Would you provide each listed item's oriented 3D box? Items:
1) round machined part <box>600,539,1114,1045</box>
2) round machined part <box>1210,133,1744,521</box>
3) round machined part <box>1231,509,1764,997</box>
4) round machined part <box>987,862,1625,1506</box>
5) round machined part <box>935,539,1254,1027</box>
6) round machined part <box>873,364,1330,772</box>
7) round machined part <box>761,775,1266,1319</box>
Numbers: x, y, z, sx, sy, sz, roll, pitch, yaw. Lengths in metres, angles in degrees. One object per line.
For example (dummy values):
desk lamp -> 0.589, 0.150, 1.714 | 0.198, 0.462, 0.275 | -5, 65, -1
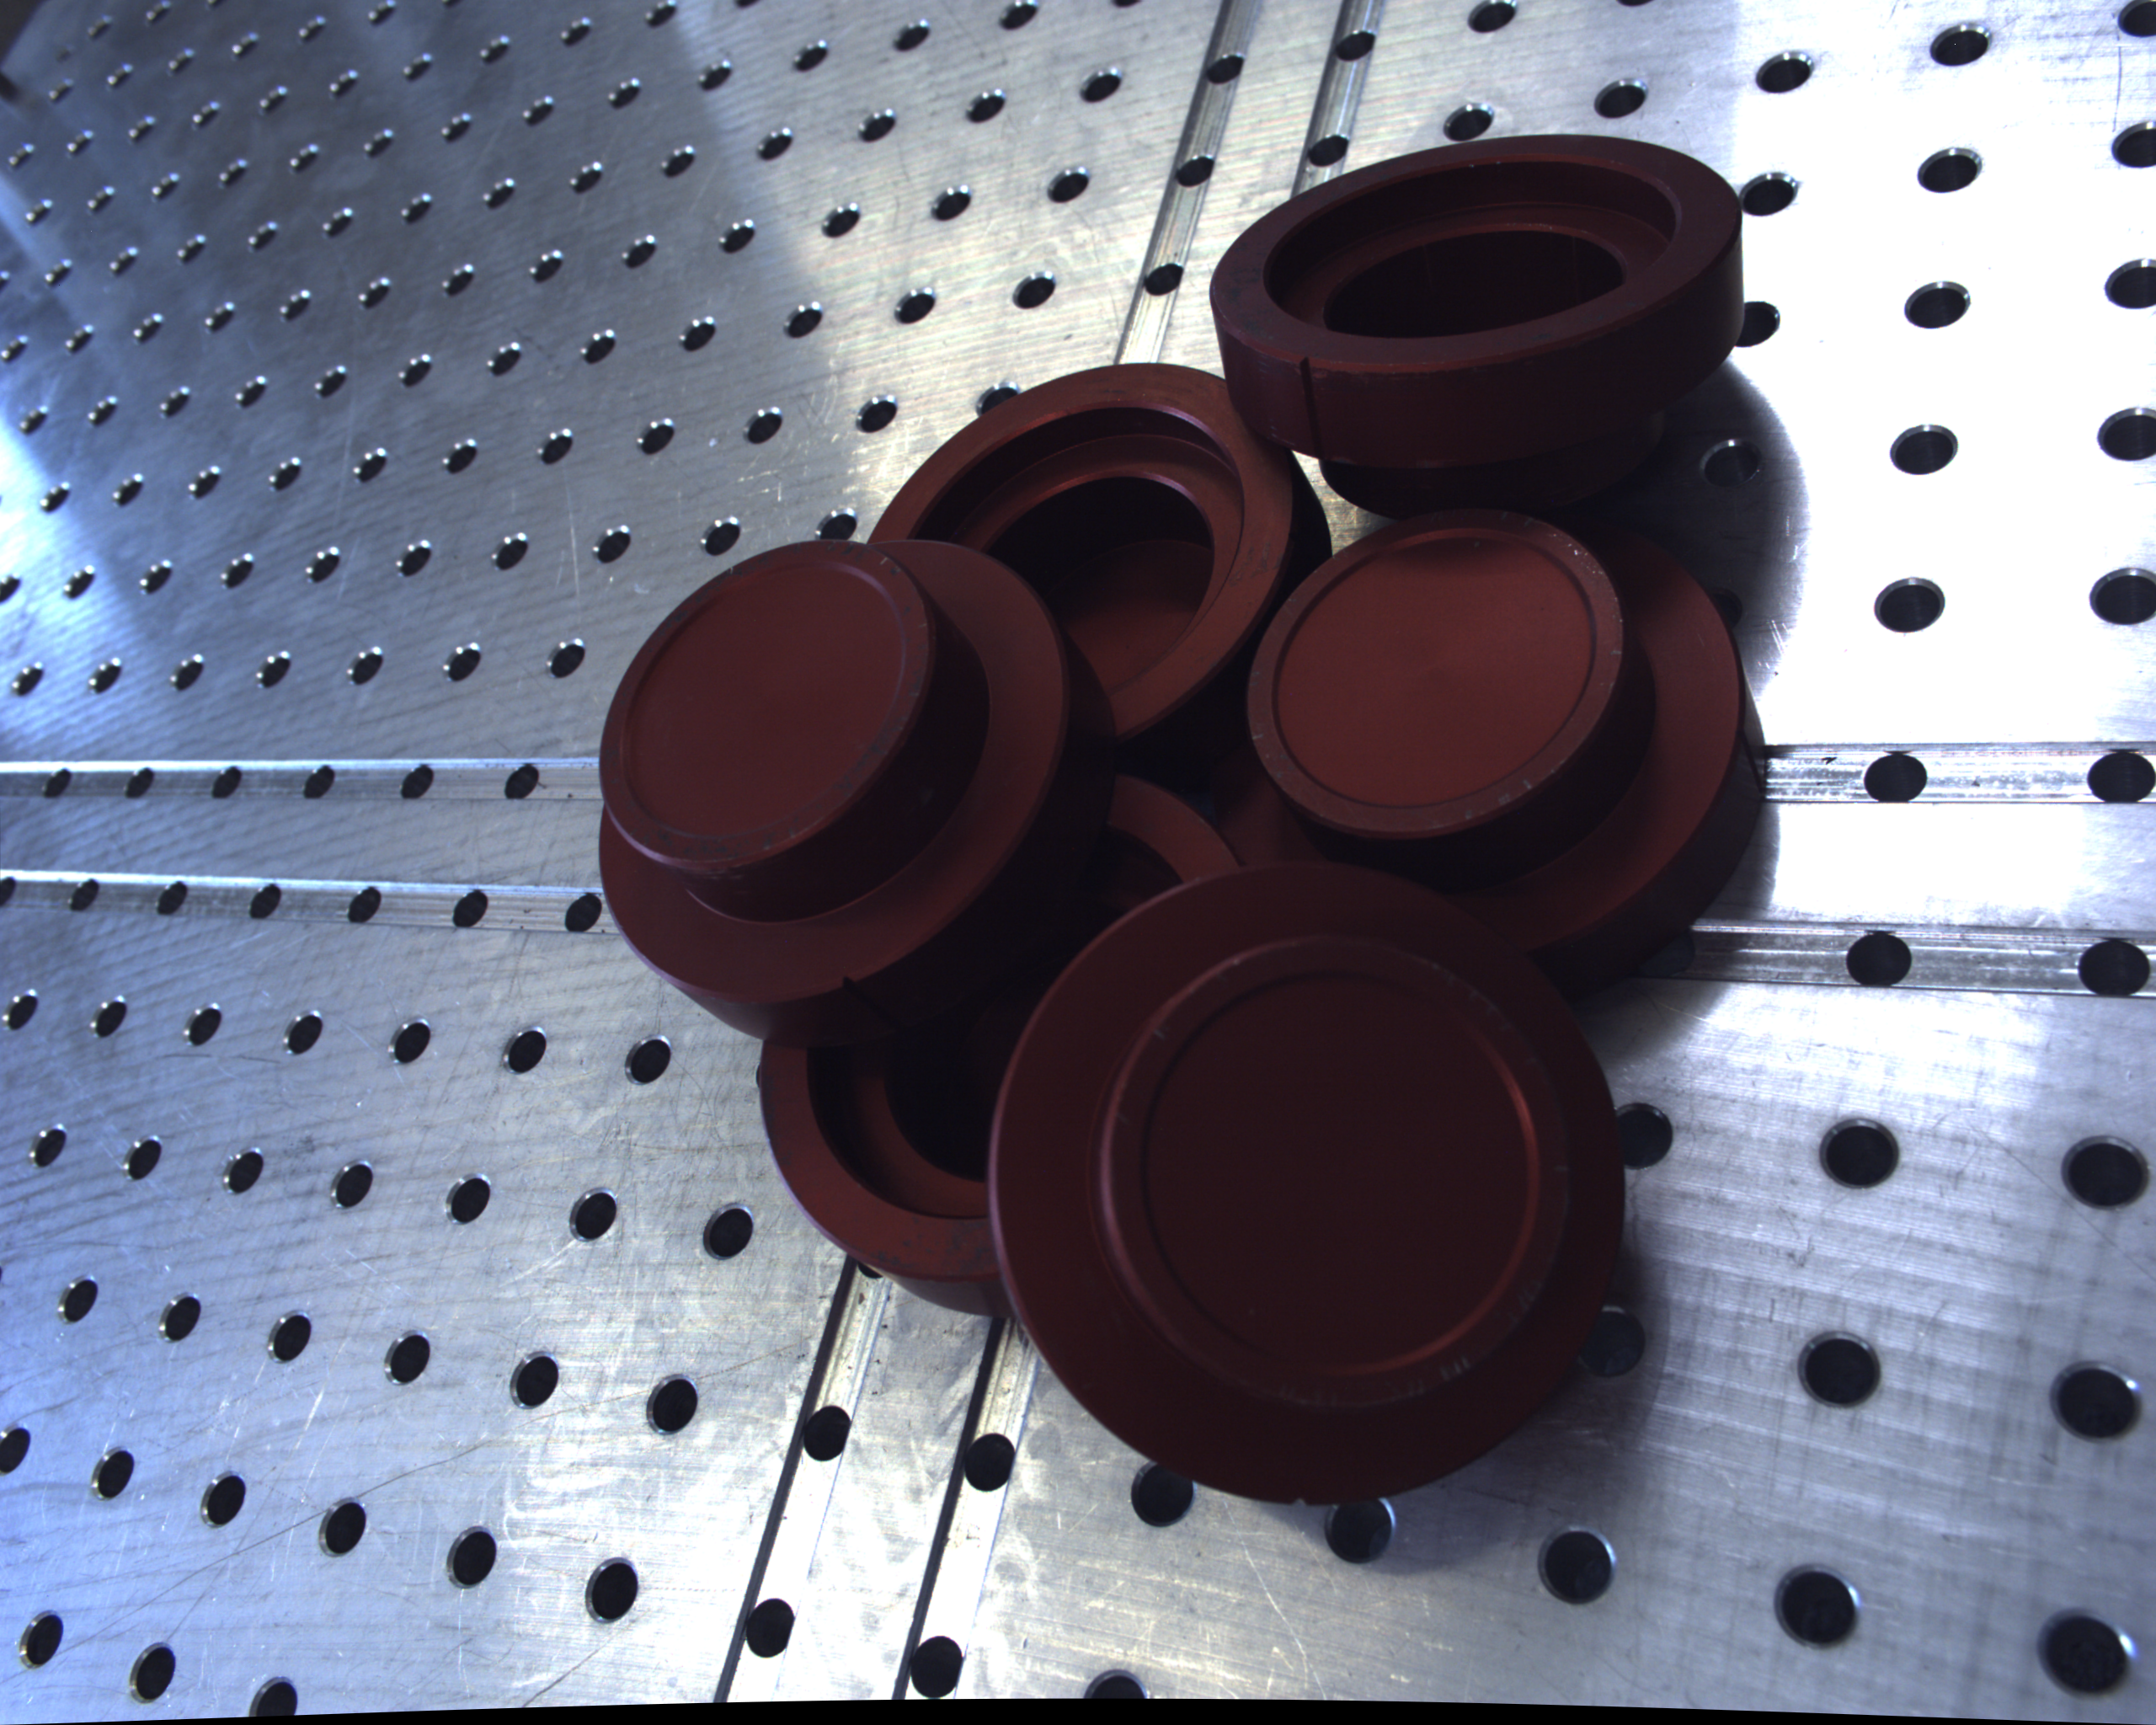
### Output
round machined part -> -0.047, -0.019, 0.380 | 0.098, 0.042, 0.098 | -13, 56, 21
round machined part -> 0.078, -0.101, 0.405 | 0.098, 0.042, 0.098 | -9, 39, 8
round machined part -> 0.069, -0.024, 0.376 | 0.098, 0.042, 0.098 | -13, 56, 21
round machined part -> 0.036, 0.047, 0.319 | 0.099, 0.042, 0.098 | 1, 79, -4
round machined part -> -0.011, -0.012, 0.411 | 0.098, 0.042, 0.098 | -13, 56, 21
round machined part -> 0.005, -0.050, 0.426 | 0.098, 0.042, 0.098 | -13, 56, 21
round machined part -> -0.004, 0.036, 0.379 | 0.098, 0.042, 0.098 | -13, 56, 21
